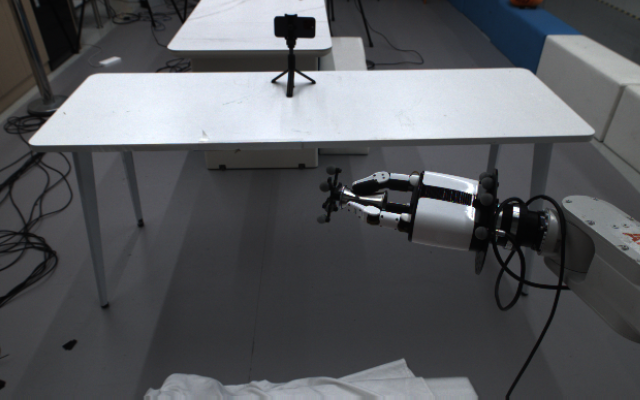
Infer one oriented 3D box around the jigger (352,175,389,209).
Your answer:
[{"bbox_3d":[0.074,-0.002,0.760,0.071,0.043,0.043,11,36,16],"label":"jigger"}]
